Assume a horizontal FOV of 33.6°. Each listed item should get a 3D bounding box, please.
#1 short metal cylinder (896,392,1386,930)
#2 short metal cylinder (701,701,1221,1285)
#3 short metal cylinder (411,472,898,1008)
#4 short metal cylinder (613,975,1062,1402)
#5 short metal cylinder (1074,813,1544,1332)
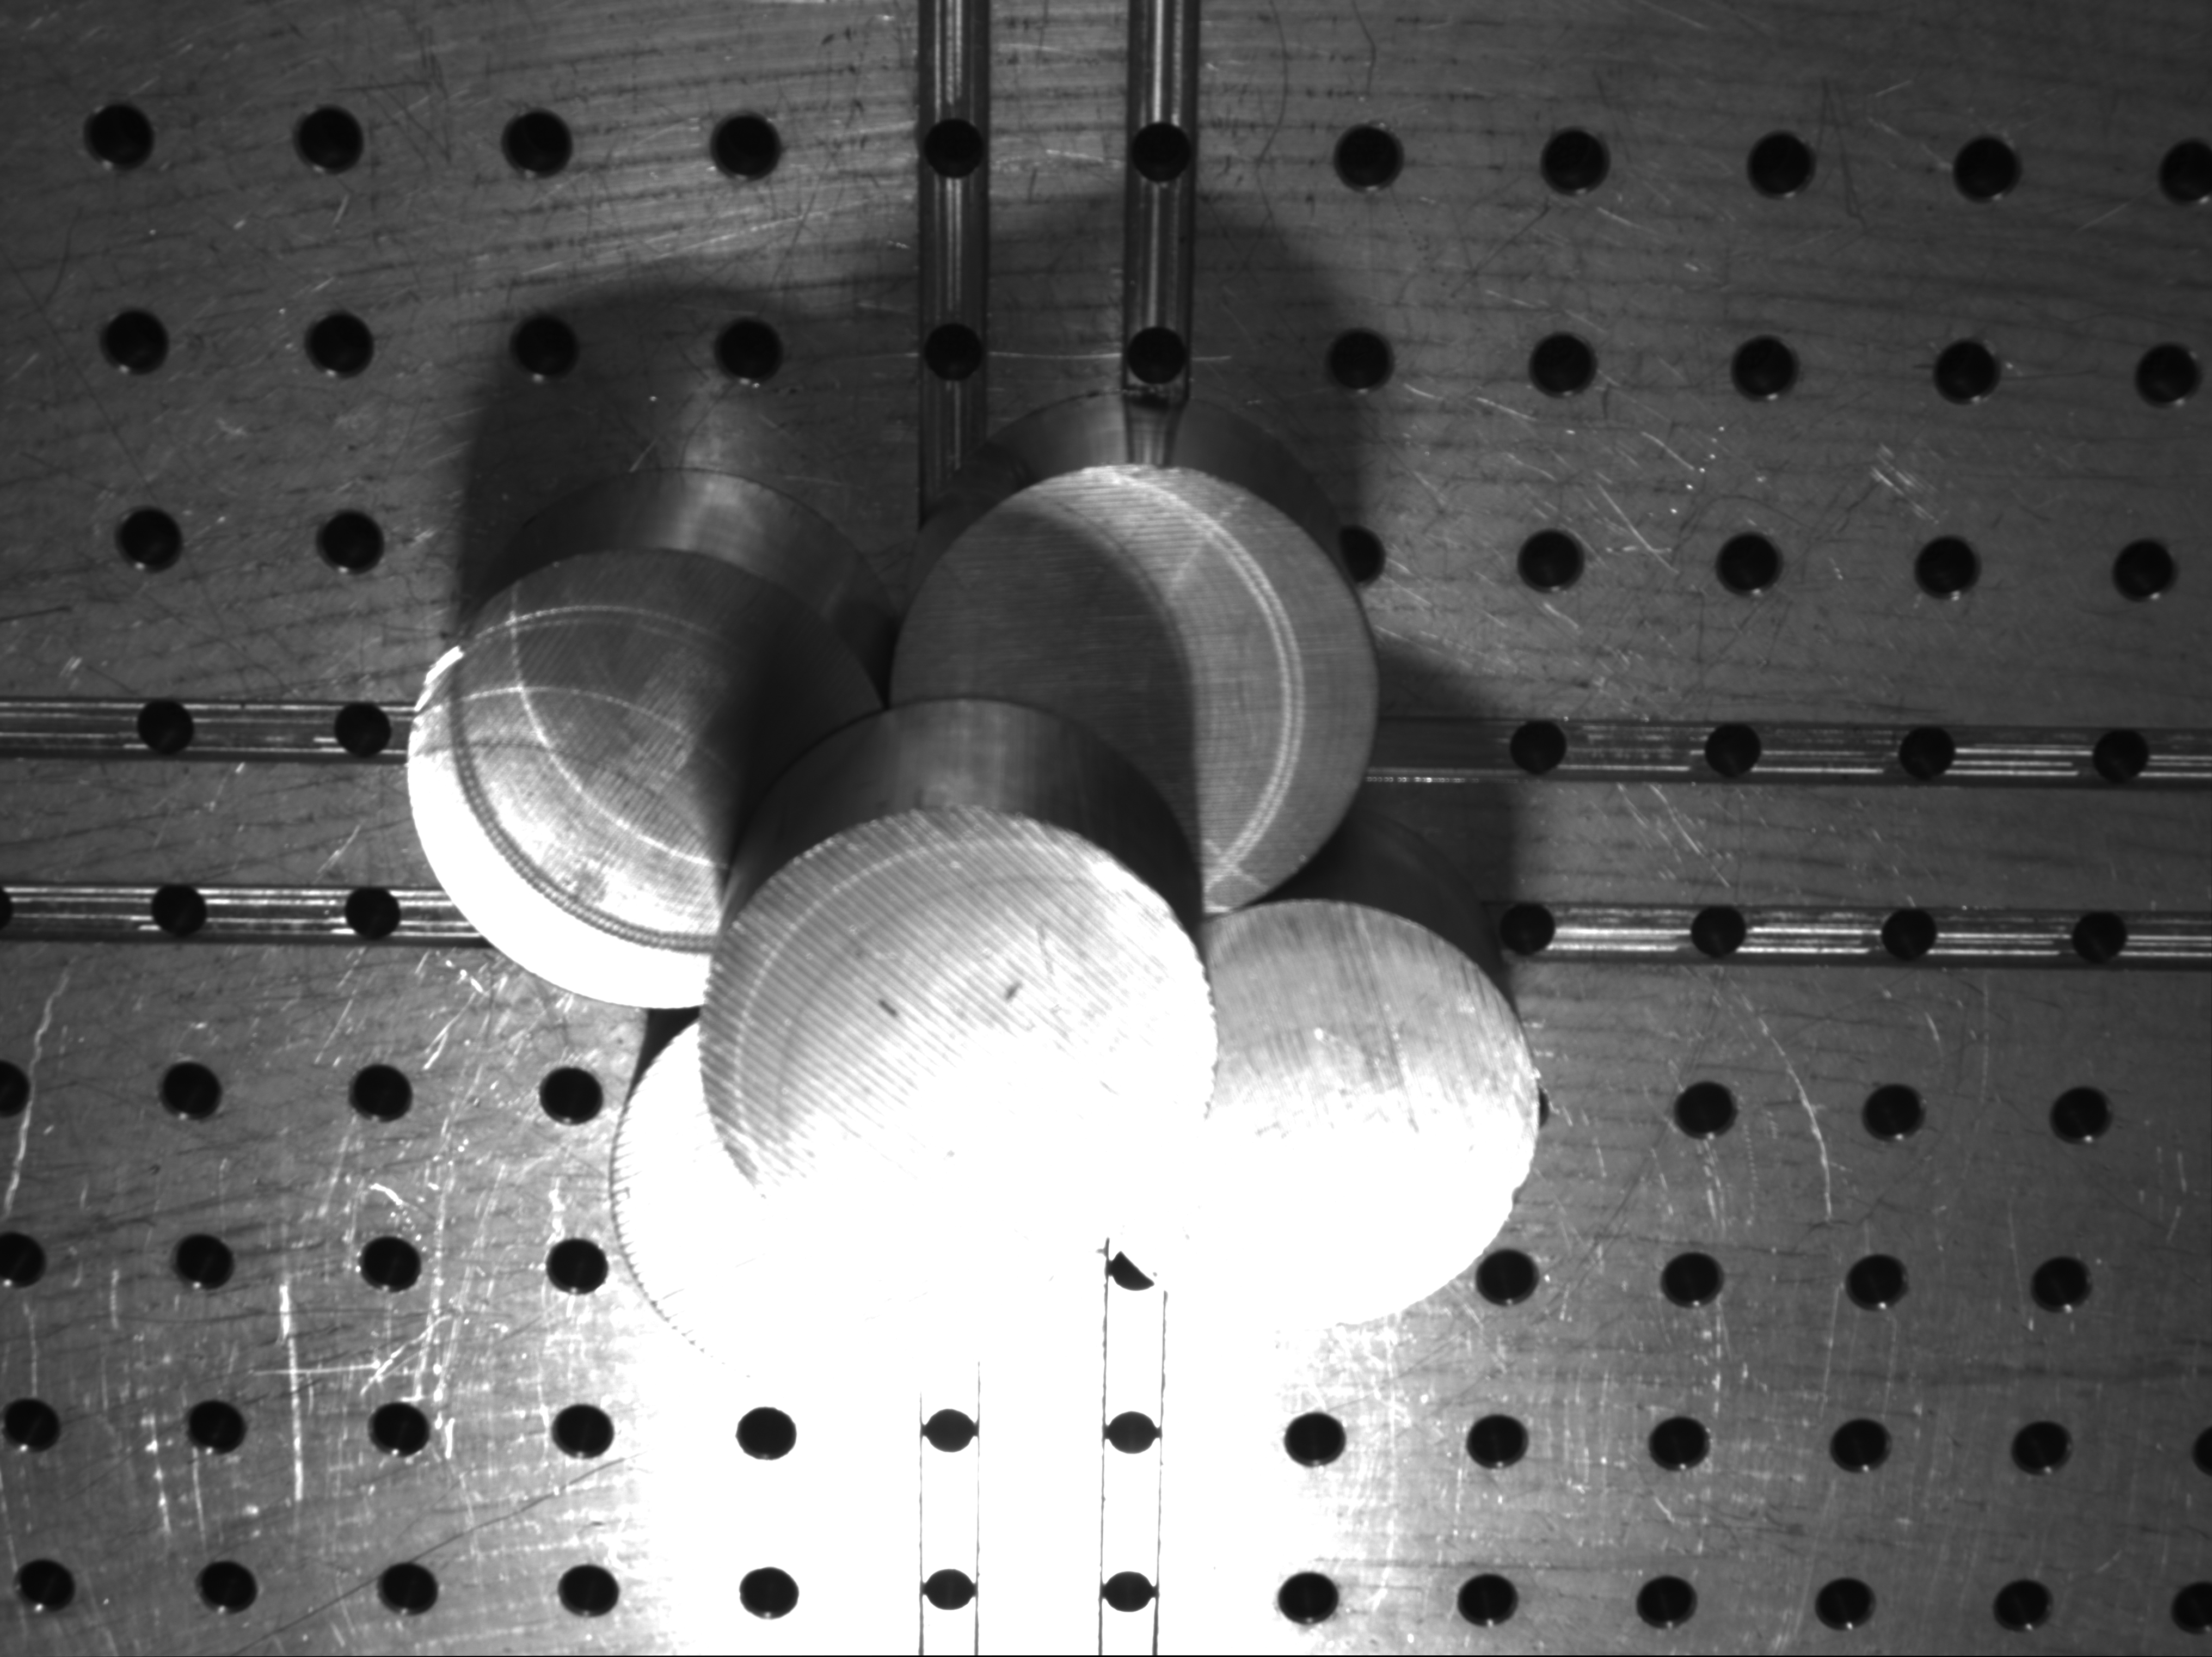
[{"bbox_3d":[0.006,-0.029,0.621,0.080,0.050,0.080,0,110,-1],"label":"short metal cylinder"},{"bbox_3d":[-0.023,0.026,0.586,0.080,0.050,0.080,-1,111,-1],"label":"short metal cylinder"},{"bbox_3d":[-0.074,-0.016,0.625,0.080,0.050,0.080,0,110,-1],"label":"short metal cylinder"},{"bbox_3d":[-0.045,0.054,0.651,0.080,0.050,0.080,0,110,-1],"label":"short metal cylinder"},{"bbox_3d":[0.034,0.041,0.647,0.080,0.050,0.080,0,110,-1],"label":"short metal cylinder"}]
